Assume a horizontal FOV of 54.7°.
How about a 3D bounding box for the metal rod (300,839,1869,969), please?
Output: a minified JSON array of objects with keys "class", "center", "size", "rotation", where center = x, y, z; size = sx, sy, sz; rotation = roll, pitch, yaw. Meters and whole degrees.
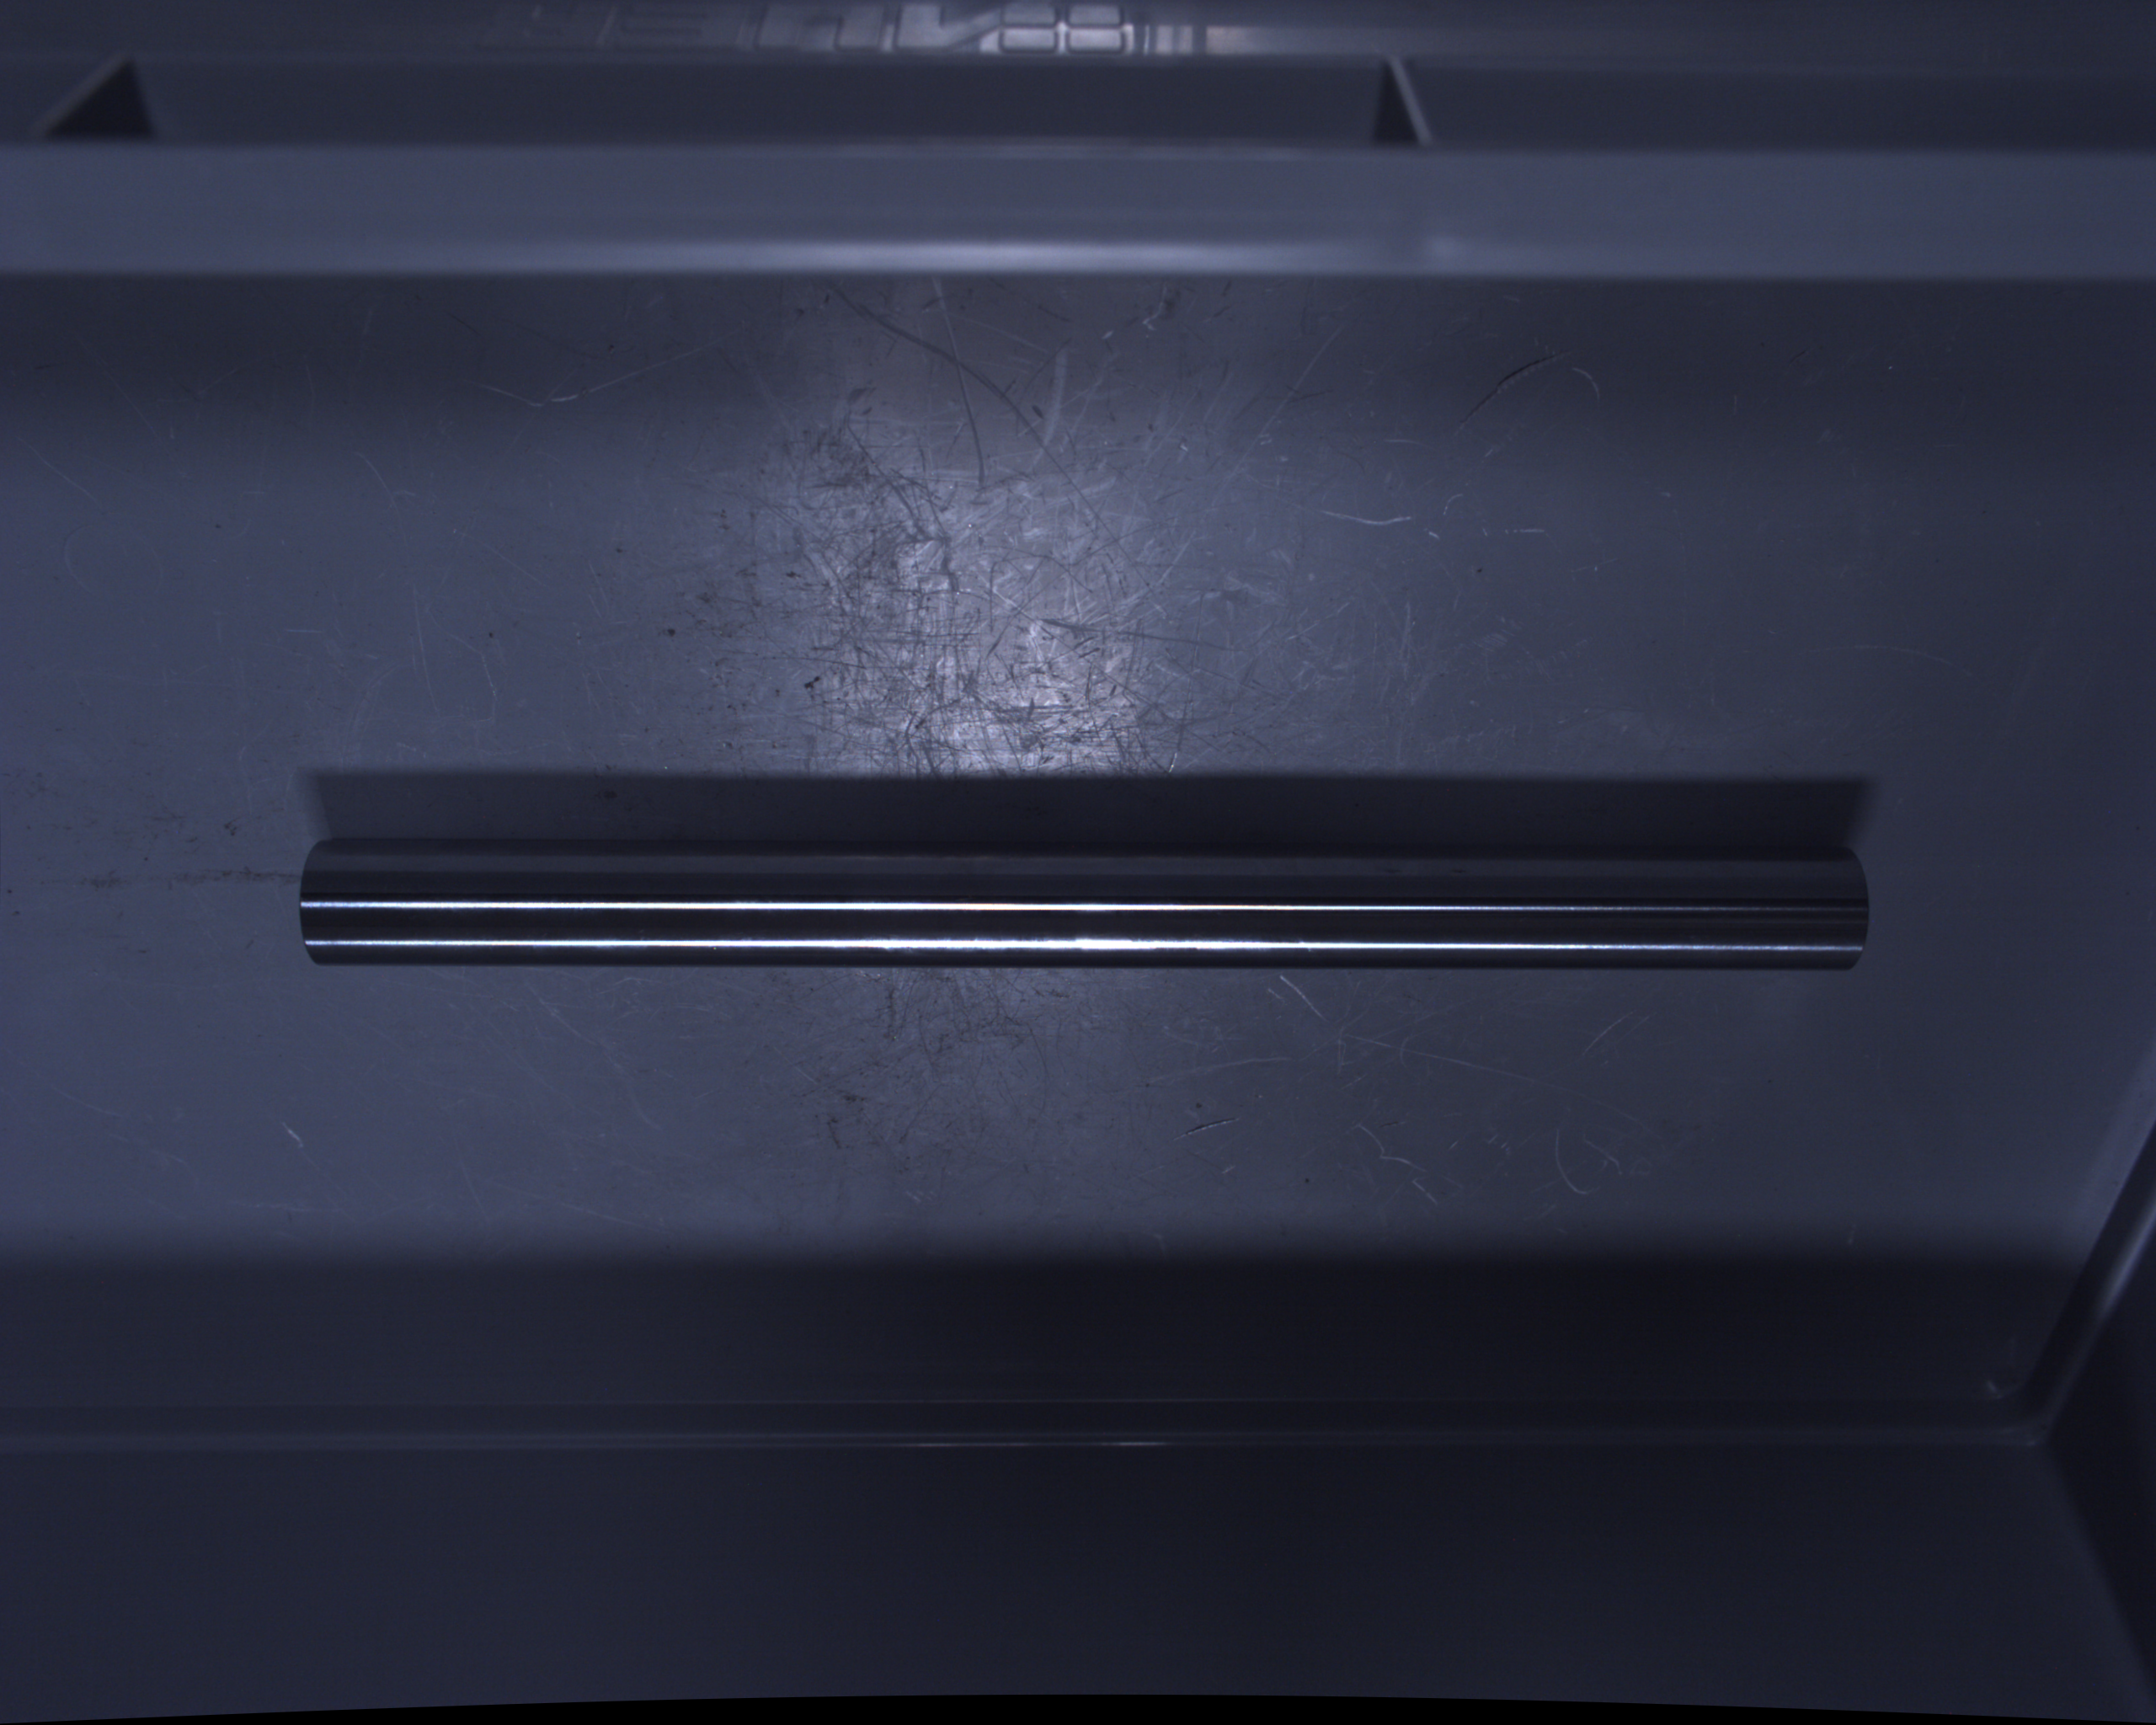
[{"class":"metal rod","center":[0.002,0.008,0.414],"size":[0.302,0.025,0.025],"rotation":[0,130,-1]}]
